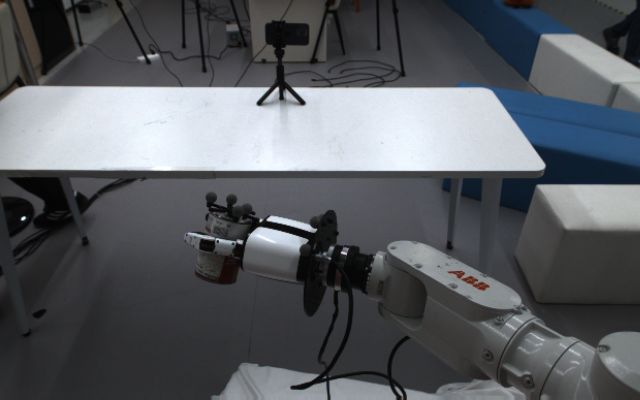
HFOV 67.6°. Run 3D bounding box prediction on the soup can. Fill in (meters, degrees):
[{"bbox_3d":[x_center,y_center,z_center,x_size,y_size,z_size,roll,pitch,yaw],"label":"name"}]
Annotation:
[{"bbox_3d":[-0.148,0.072,0.745,0.067,0.101,0.067,16,7,-2],"label":"soup can"}]
